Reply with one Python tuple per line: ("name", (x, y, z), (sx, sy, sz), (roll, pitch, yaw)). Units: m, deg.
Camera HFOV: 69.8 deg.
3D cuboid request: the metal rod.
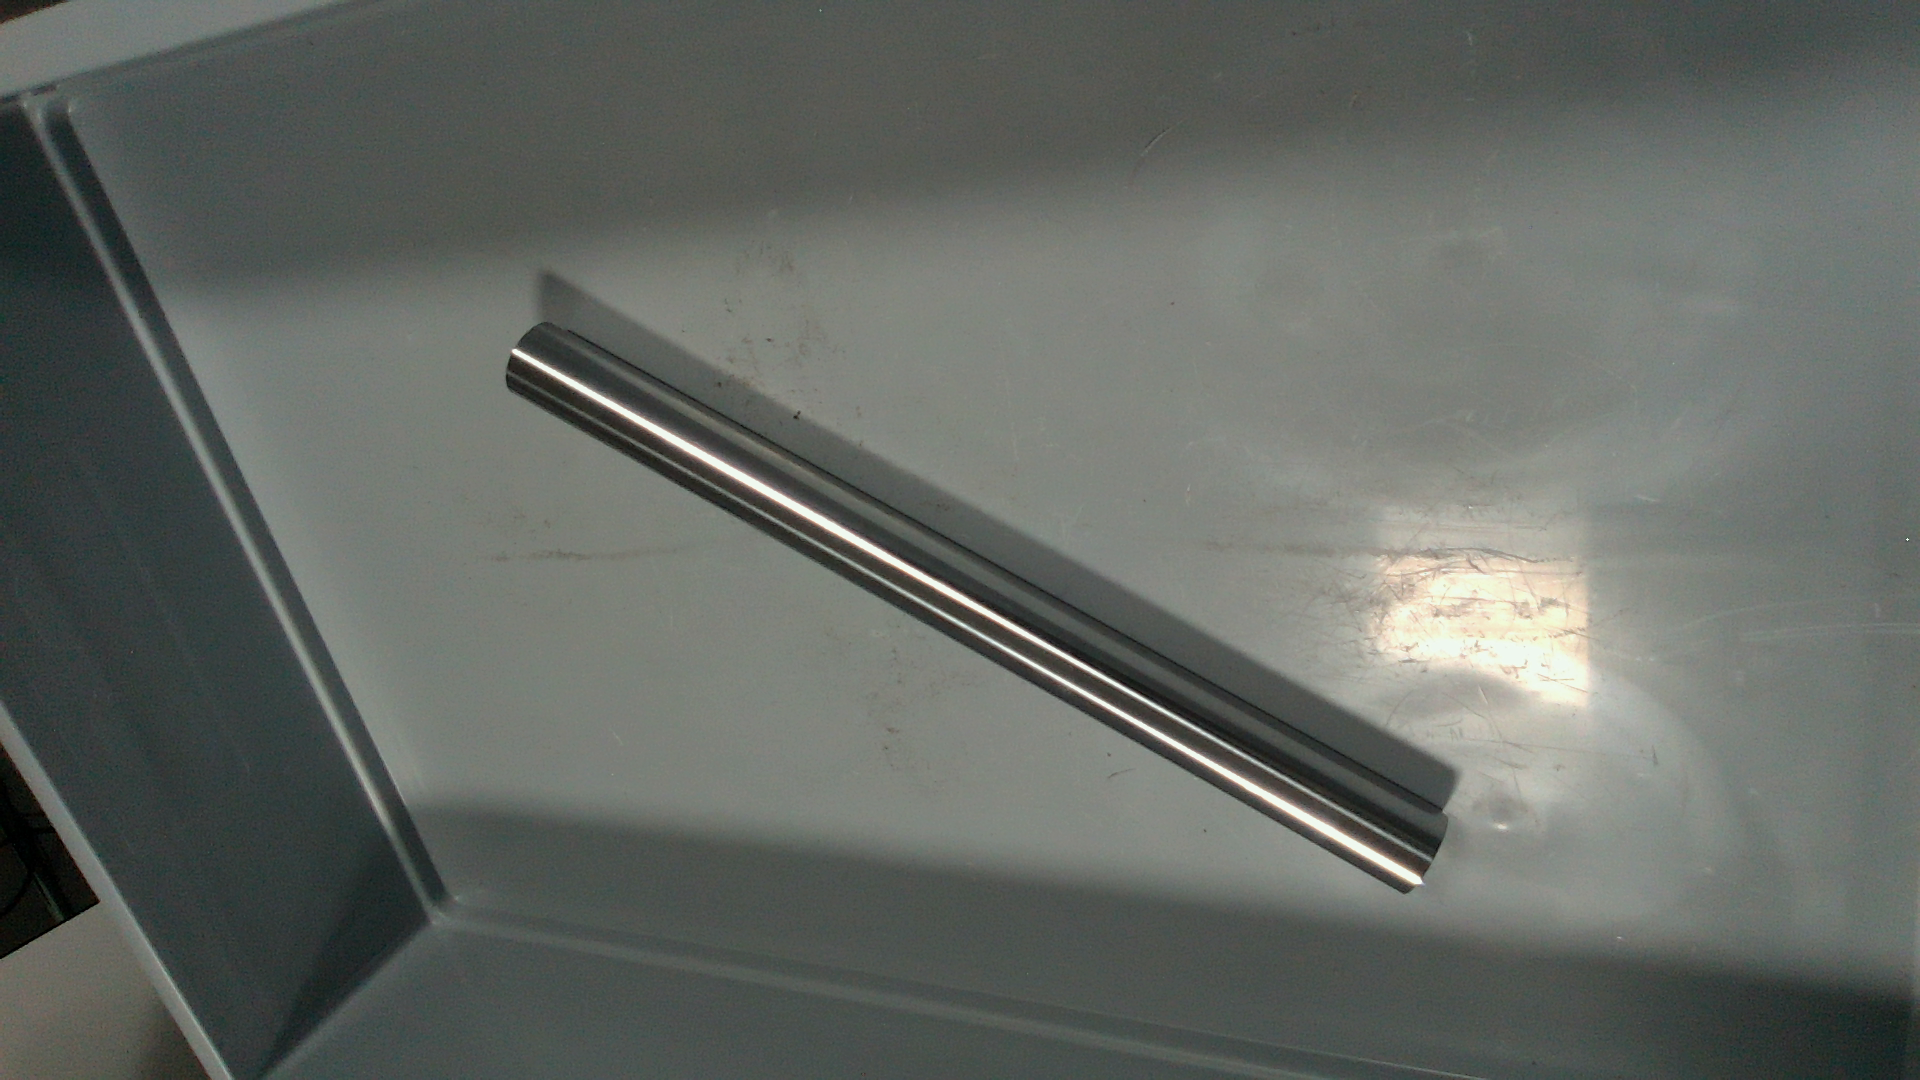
("metal rod", (-0.003, 0.015, 0.401), (0.300, 0.025, 0.025), (29, 128, 10))
